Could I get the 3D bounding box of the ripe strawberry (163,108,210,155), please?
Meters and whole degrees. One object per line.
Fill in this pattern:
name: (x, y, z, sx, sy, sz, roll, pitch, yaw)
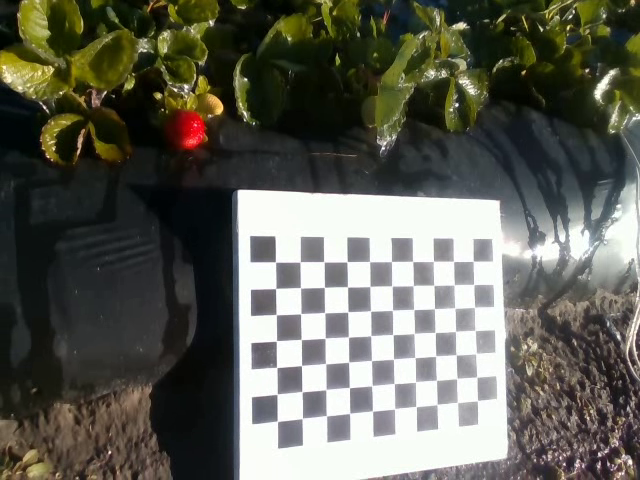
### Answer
ripe strawberry: (-0.092, -0.074, 0.427, 0.039, 0.040, 0.039, -10, 25, -12)
